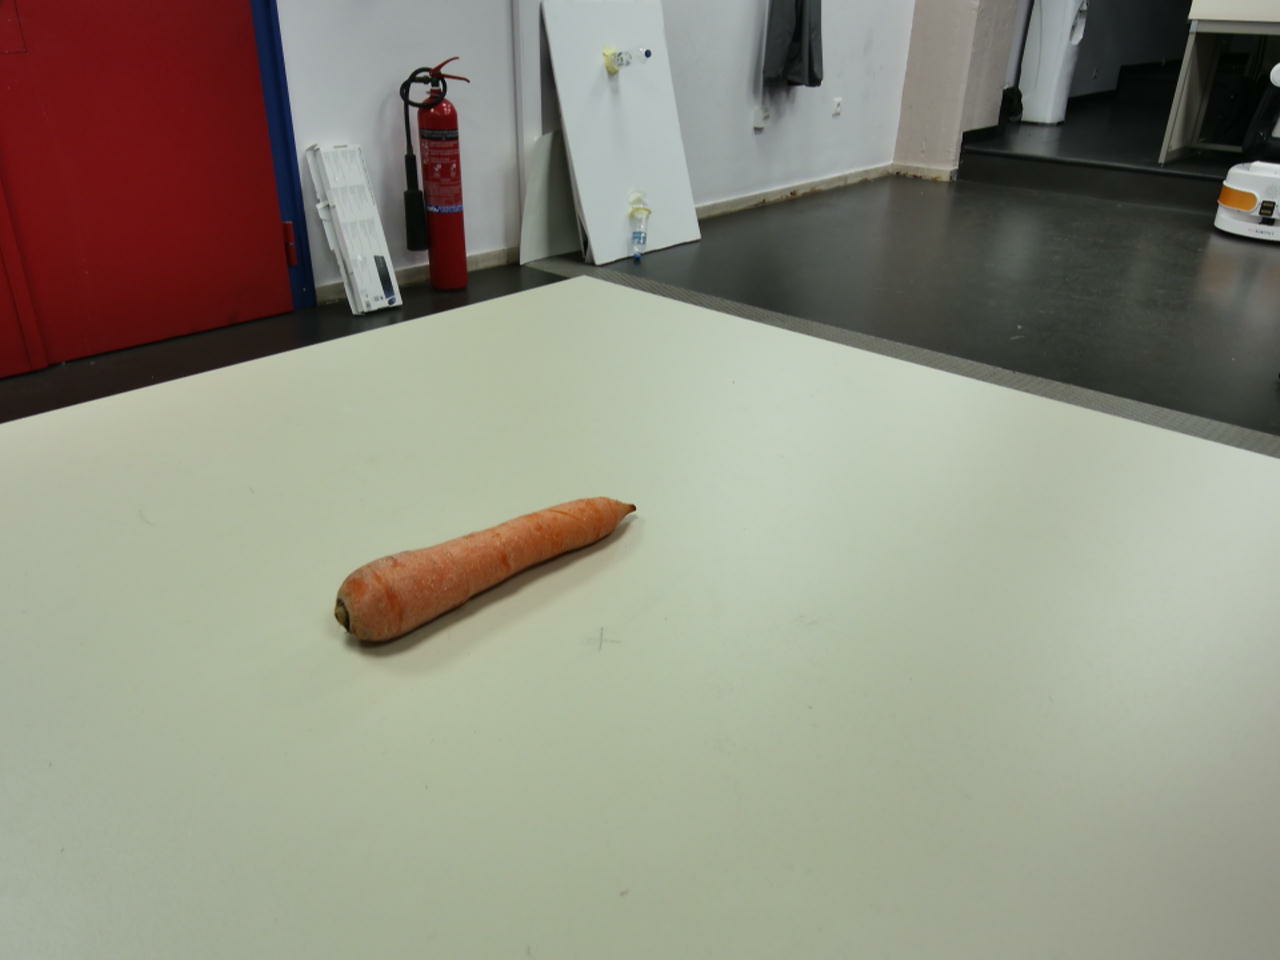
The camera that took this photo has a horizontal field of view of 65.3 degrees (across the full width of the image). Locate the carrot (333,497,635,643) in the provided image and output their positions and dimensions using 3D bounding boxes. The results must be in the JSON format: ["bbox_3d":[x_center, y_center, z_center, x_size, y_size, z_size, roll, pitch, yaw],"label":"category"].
[{"bbox_3d":[-0.073,0.035,0.526,0.039,0.041,0.196,21,32,37],"label":"carrot"}]
